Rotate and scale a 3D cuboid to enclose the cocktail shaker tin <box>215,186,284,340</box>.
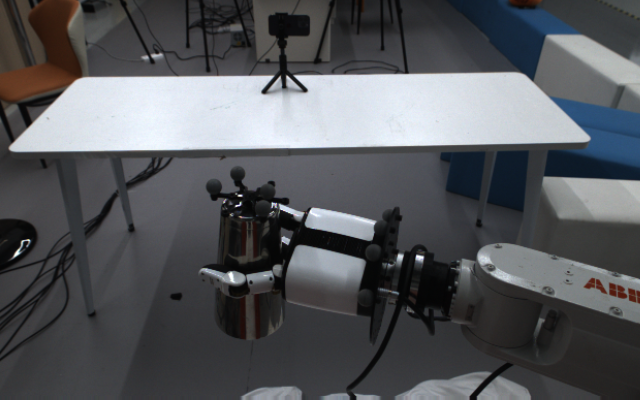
[{"bbox_3d":[-0.084,0.076,0.591,0.093,0.170,0.093,3,32,-2],"label":"cocktail shaker tin"}]
